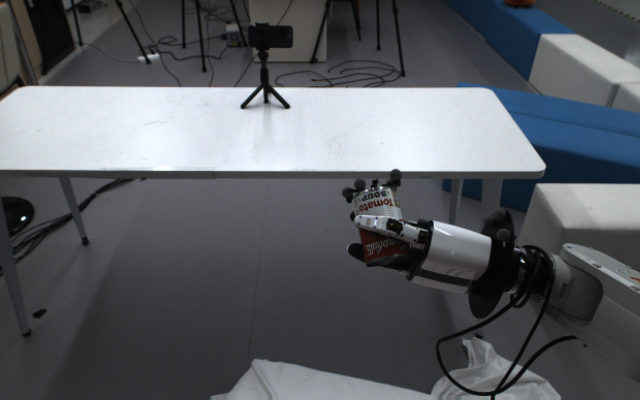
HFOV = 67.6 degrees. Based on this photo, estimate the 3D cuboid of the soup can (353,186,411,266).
[{"bbox_3d":[0.089,0.038,0.696,0.067,0.067,0.101,-8,74,-14],"label":"soup can"}]
